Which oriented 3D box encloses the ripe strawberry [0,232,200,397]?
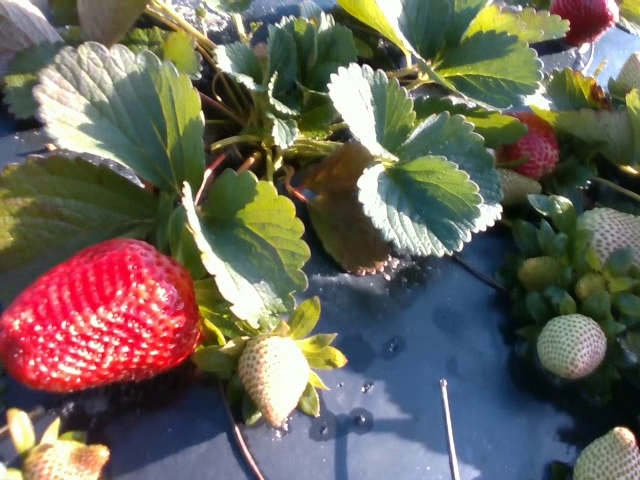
[{"bbox_3d":[-0.070,0.024,0.202,0.056,0.055,0.072,-11,17,30],"label":"ripe strawberry"}]
